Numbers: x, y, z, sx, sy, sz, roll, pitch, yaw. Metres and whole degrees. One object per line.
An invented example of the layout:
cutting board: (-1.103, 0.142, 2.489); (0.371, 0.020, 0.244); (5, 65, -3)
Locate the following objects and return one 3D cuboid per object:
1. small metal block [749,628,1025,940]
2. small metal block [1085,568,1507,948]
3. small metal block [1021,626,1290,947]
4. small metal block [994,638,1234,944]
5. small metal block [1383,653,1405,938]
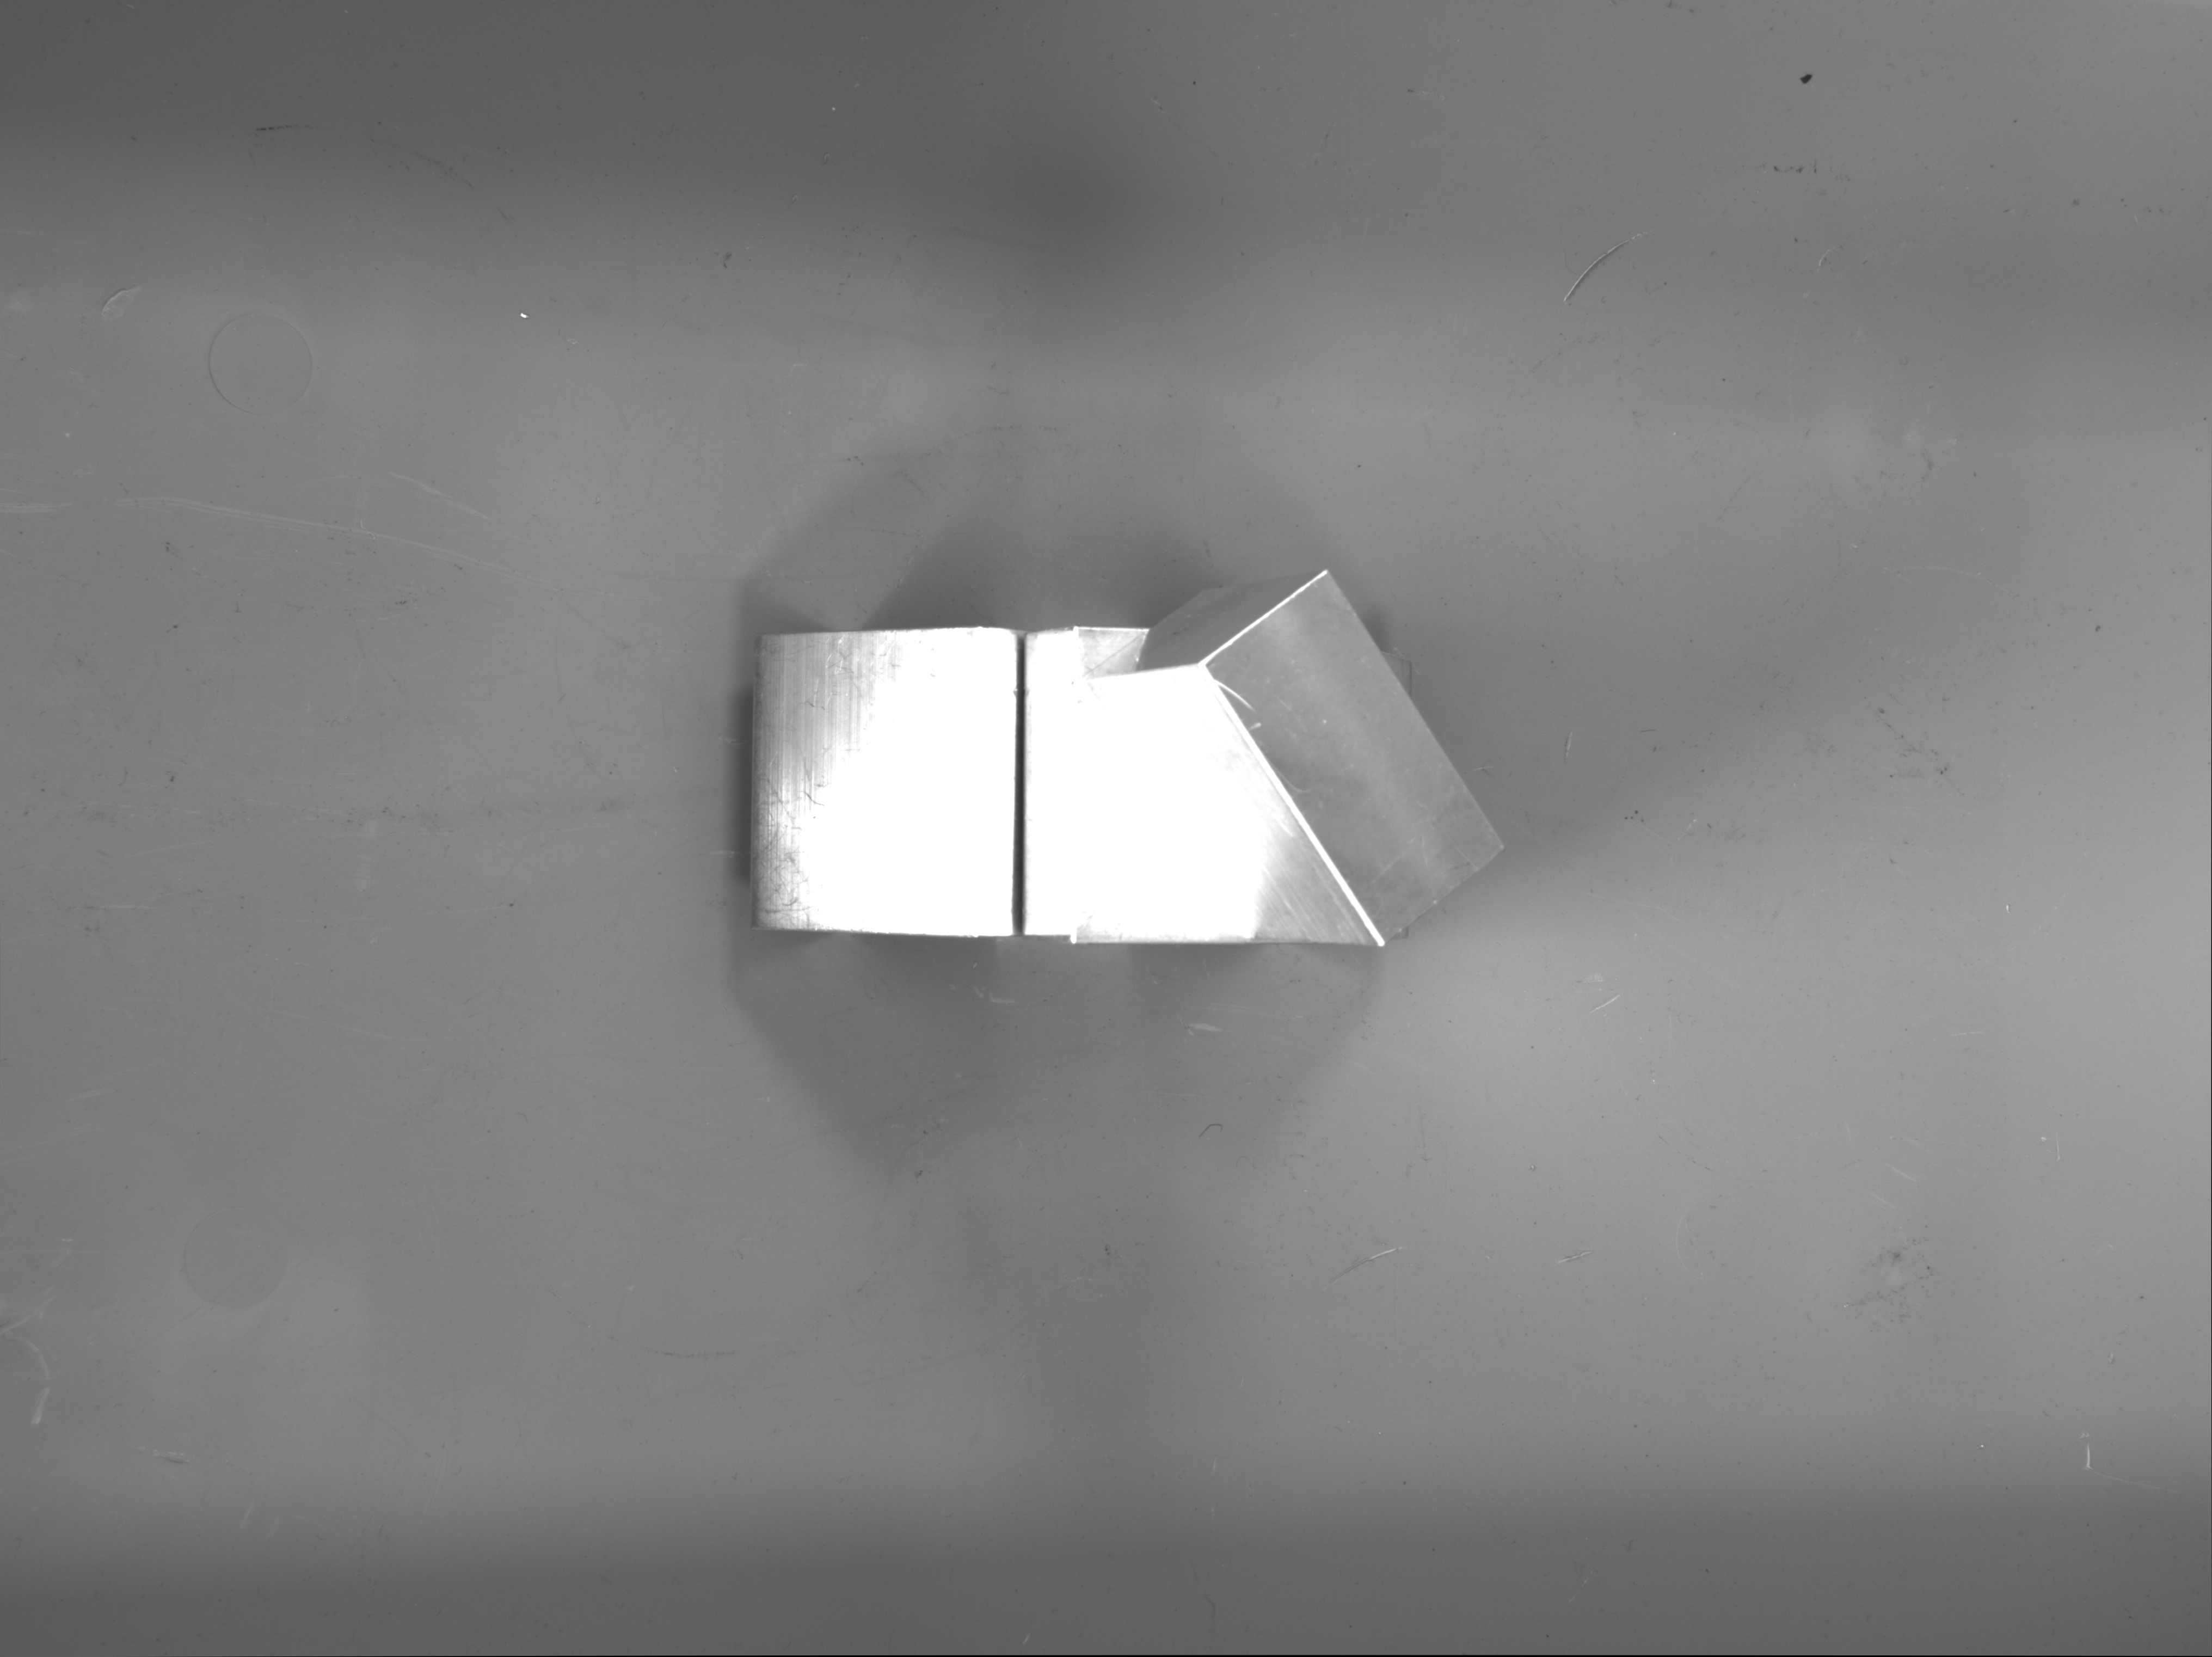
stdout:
small metal block: (-0.032, -0.007, 0.613); (0.025, 0.050, 0.050); (1, 89, -53)
small metal block: (0.028, -0.010, 0.558); (0.025, 0.050, 0.050); (-36, 101, -16)
small metal block: (0.014, -0.006, 0.593); (0.050, 0.025, 0.050); (1, 89, -20)
small metal block: (0.001, -0.006, 0.628); (0.025, 0.050, 0.050); (1, 89, -20)
small metal block: (0.036, -0.006, 0.639); (0.025, 0.050, 0.050); (1, 90, 15)
